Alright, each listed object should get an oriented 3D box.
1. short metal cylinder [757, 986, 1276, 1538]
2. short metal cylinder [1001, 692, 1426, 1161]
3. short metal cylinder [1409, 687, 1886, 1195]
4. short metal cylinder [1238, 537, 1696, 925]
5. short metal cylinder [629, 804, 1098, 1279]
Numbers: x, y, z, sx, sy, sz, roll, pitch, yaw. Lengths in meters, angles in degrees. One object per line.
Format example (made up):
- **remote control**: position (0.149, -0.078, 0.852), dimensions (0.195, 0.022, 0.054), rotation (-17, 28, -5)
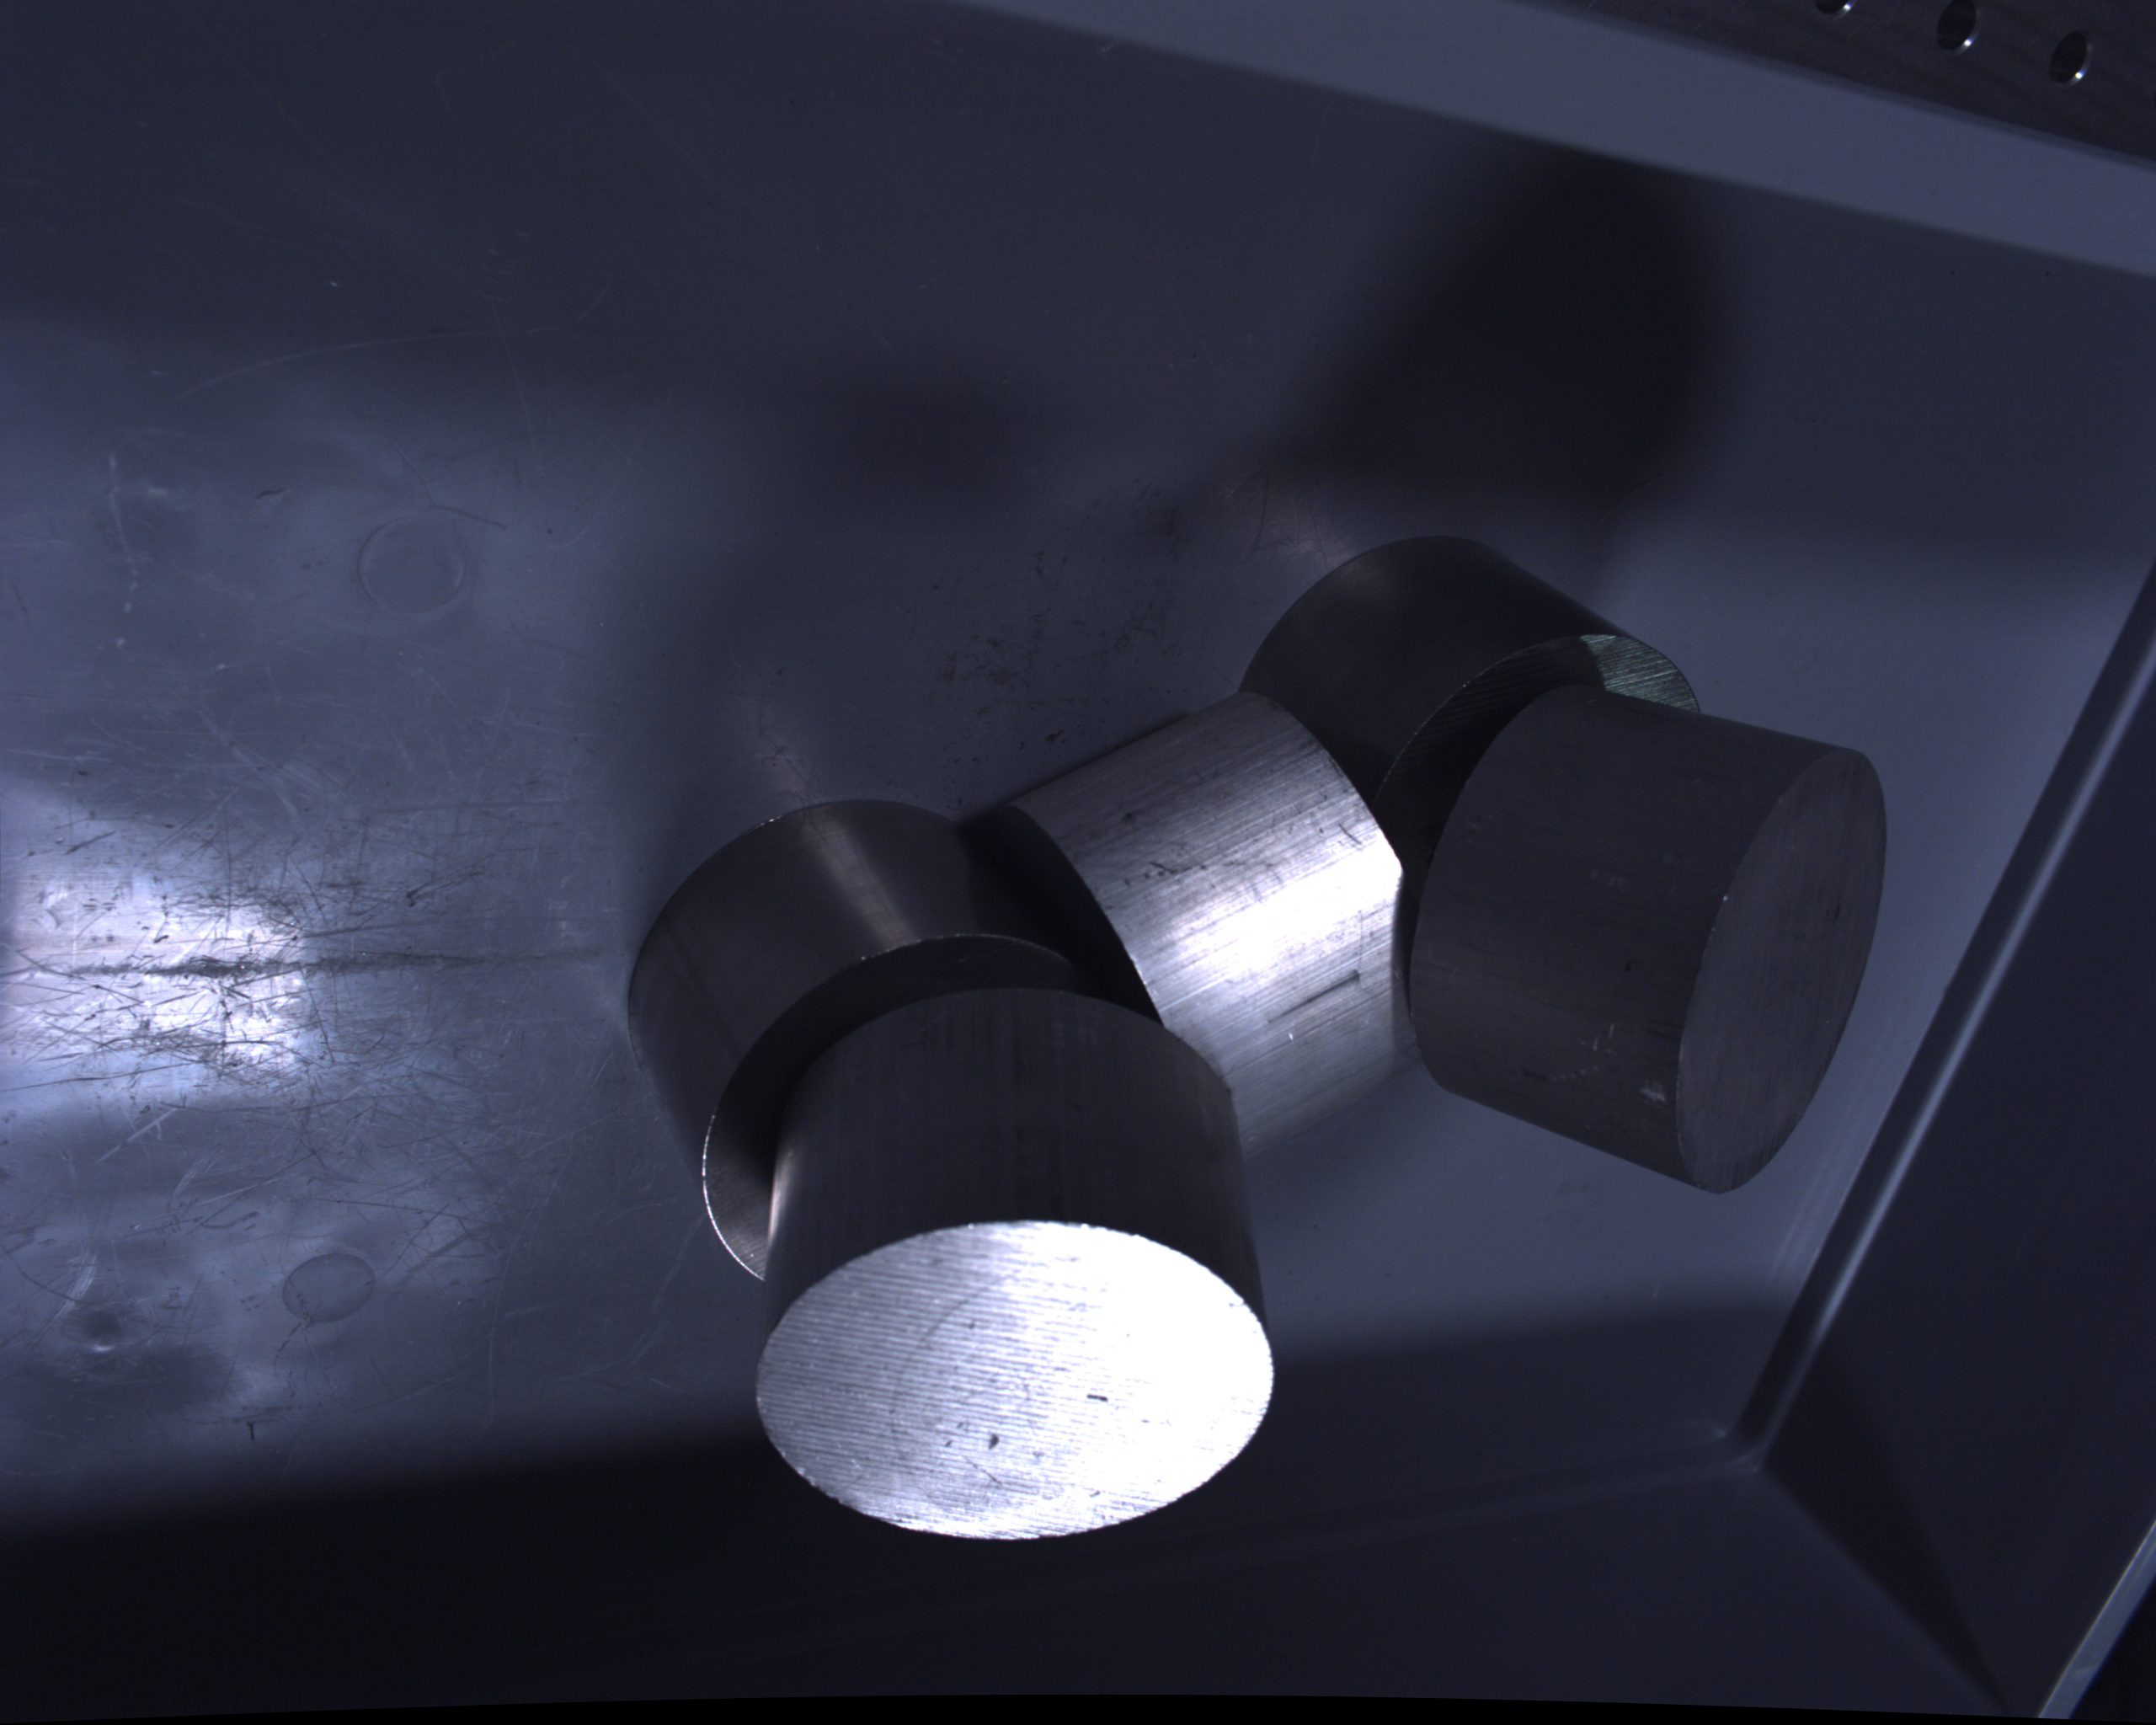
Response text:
- **short metal cylinder**: position (-0.010, 0.067, 0.344), dimensions (0.081, 0.050, 0.079), rotation (-2, 129, -2)
- **short metal cylinder**: position (0.026, 0.014, 0.396), dimensions (0.050, 0.080, 0.080), rotation (-27, 128, -12)
- **short metal cylinder**: position (0.103, 0.013, 0.372), dimensions (0.081, 0.050, 0.079), rotation (-24, 123, -44)
- **short metal cylinder**: position (0.077, -0.019, 0.423), dimensions (0.081, 0.050, 0.079), rotation (-14, 125, -21)
- **short metal cylinder**: position (-0.038, 0.036, 0.393), dimensions (0.081, 0.050, 0.079), rotation (-14, 125, -21)
